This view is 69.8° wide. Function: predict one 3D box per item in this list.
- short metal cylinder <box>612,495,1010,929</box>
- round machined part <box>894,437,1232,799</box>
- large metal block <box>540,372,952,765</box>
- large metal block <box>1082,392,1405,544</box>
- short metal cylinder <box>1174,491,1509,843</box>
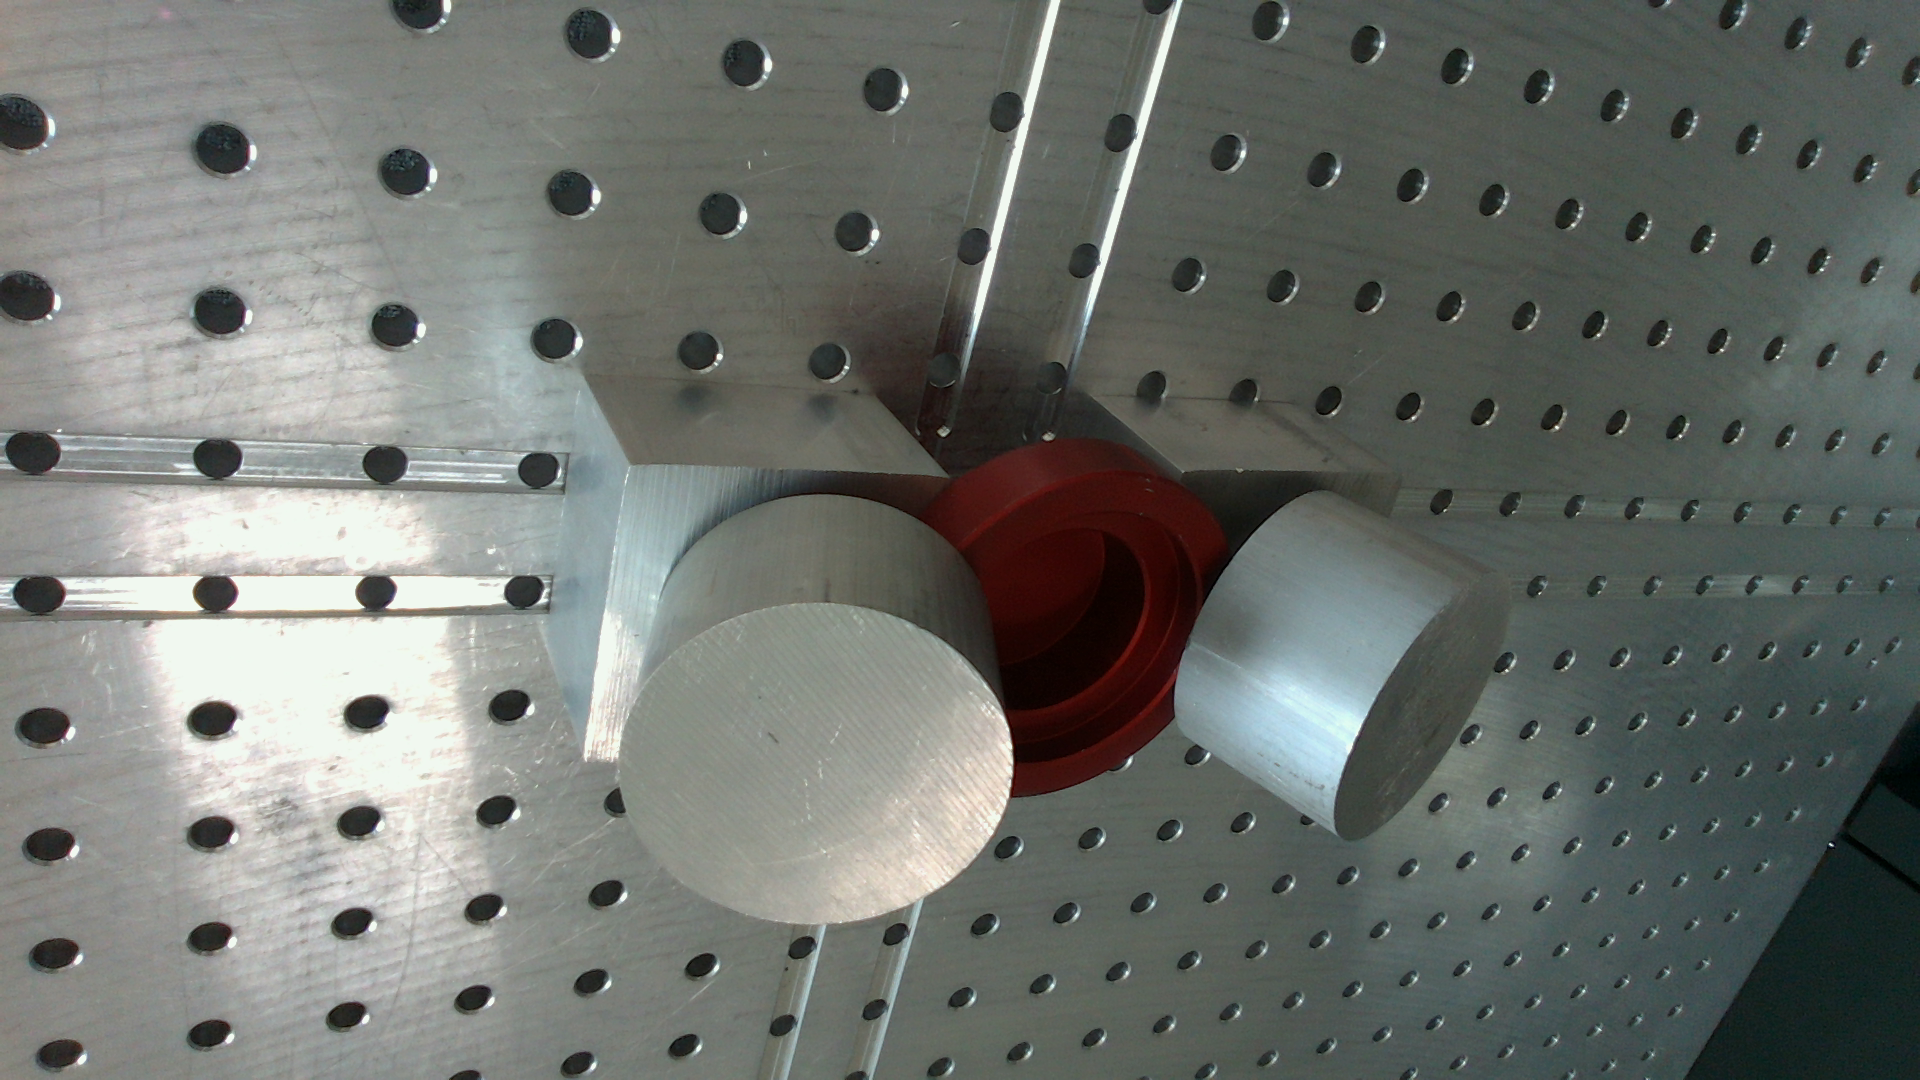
[{"bbox_3d":[-0.031,0.037,0.301,0.080,0.050,0.080,-2,117,-3],"label":"short metal cylinder"},{"bbox_3d":[0.020,0.017,0.364,0.098,0.042,0.098,-14,124,-21],"label":"round machined part"},{"bbox_3d":[-0.057,0.007,0.349,0.080,0.050,0.080,1,118,-29],"label":"large metal block"},{"bbox_3d":[0.076,0.003,0.419,0.080,0.050,0.080,-1,119,-28],"label":"large metal block"},{"bbox_3d":[0.103,0.033,0.371,0.080,0.050,0.080,-31,137,-33],"label":"short metal cylinder"}]
